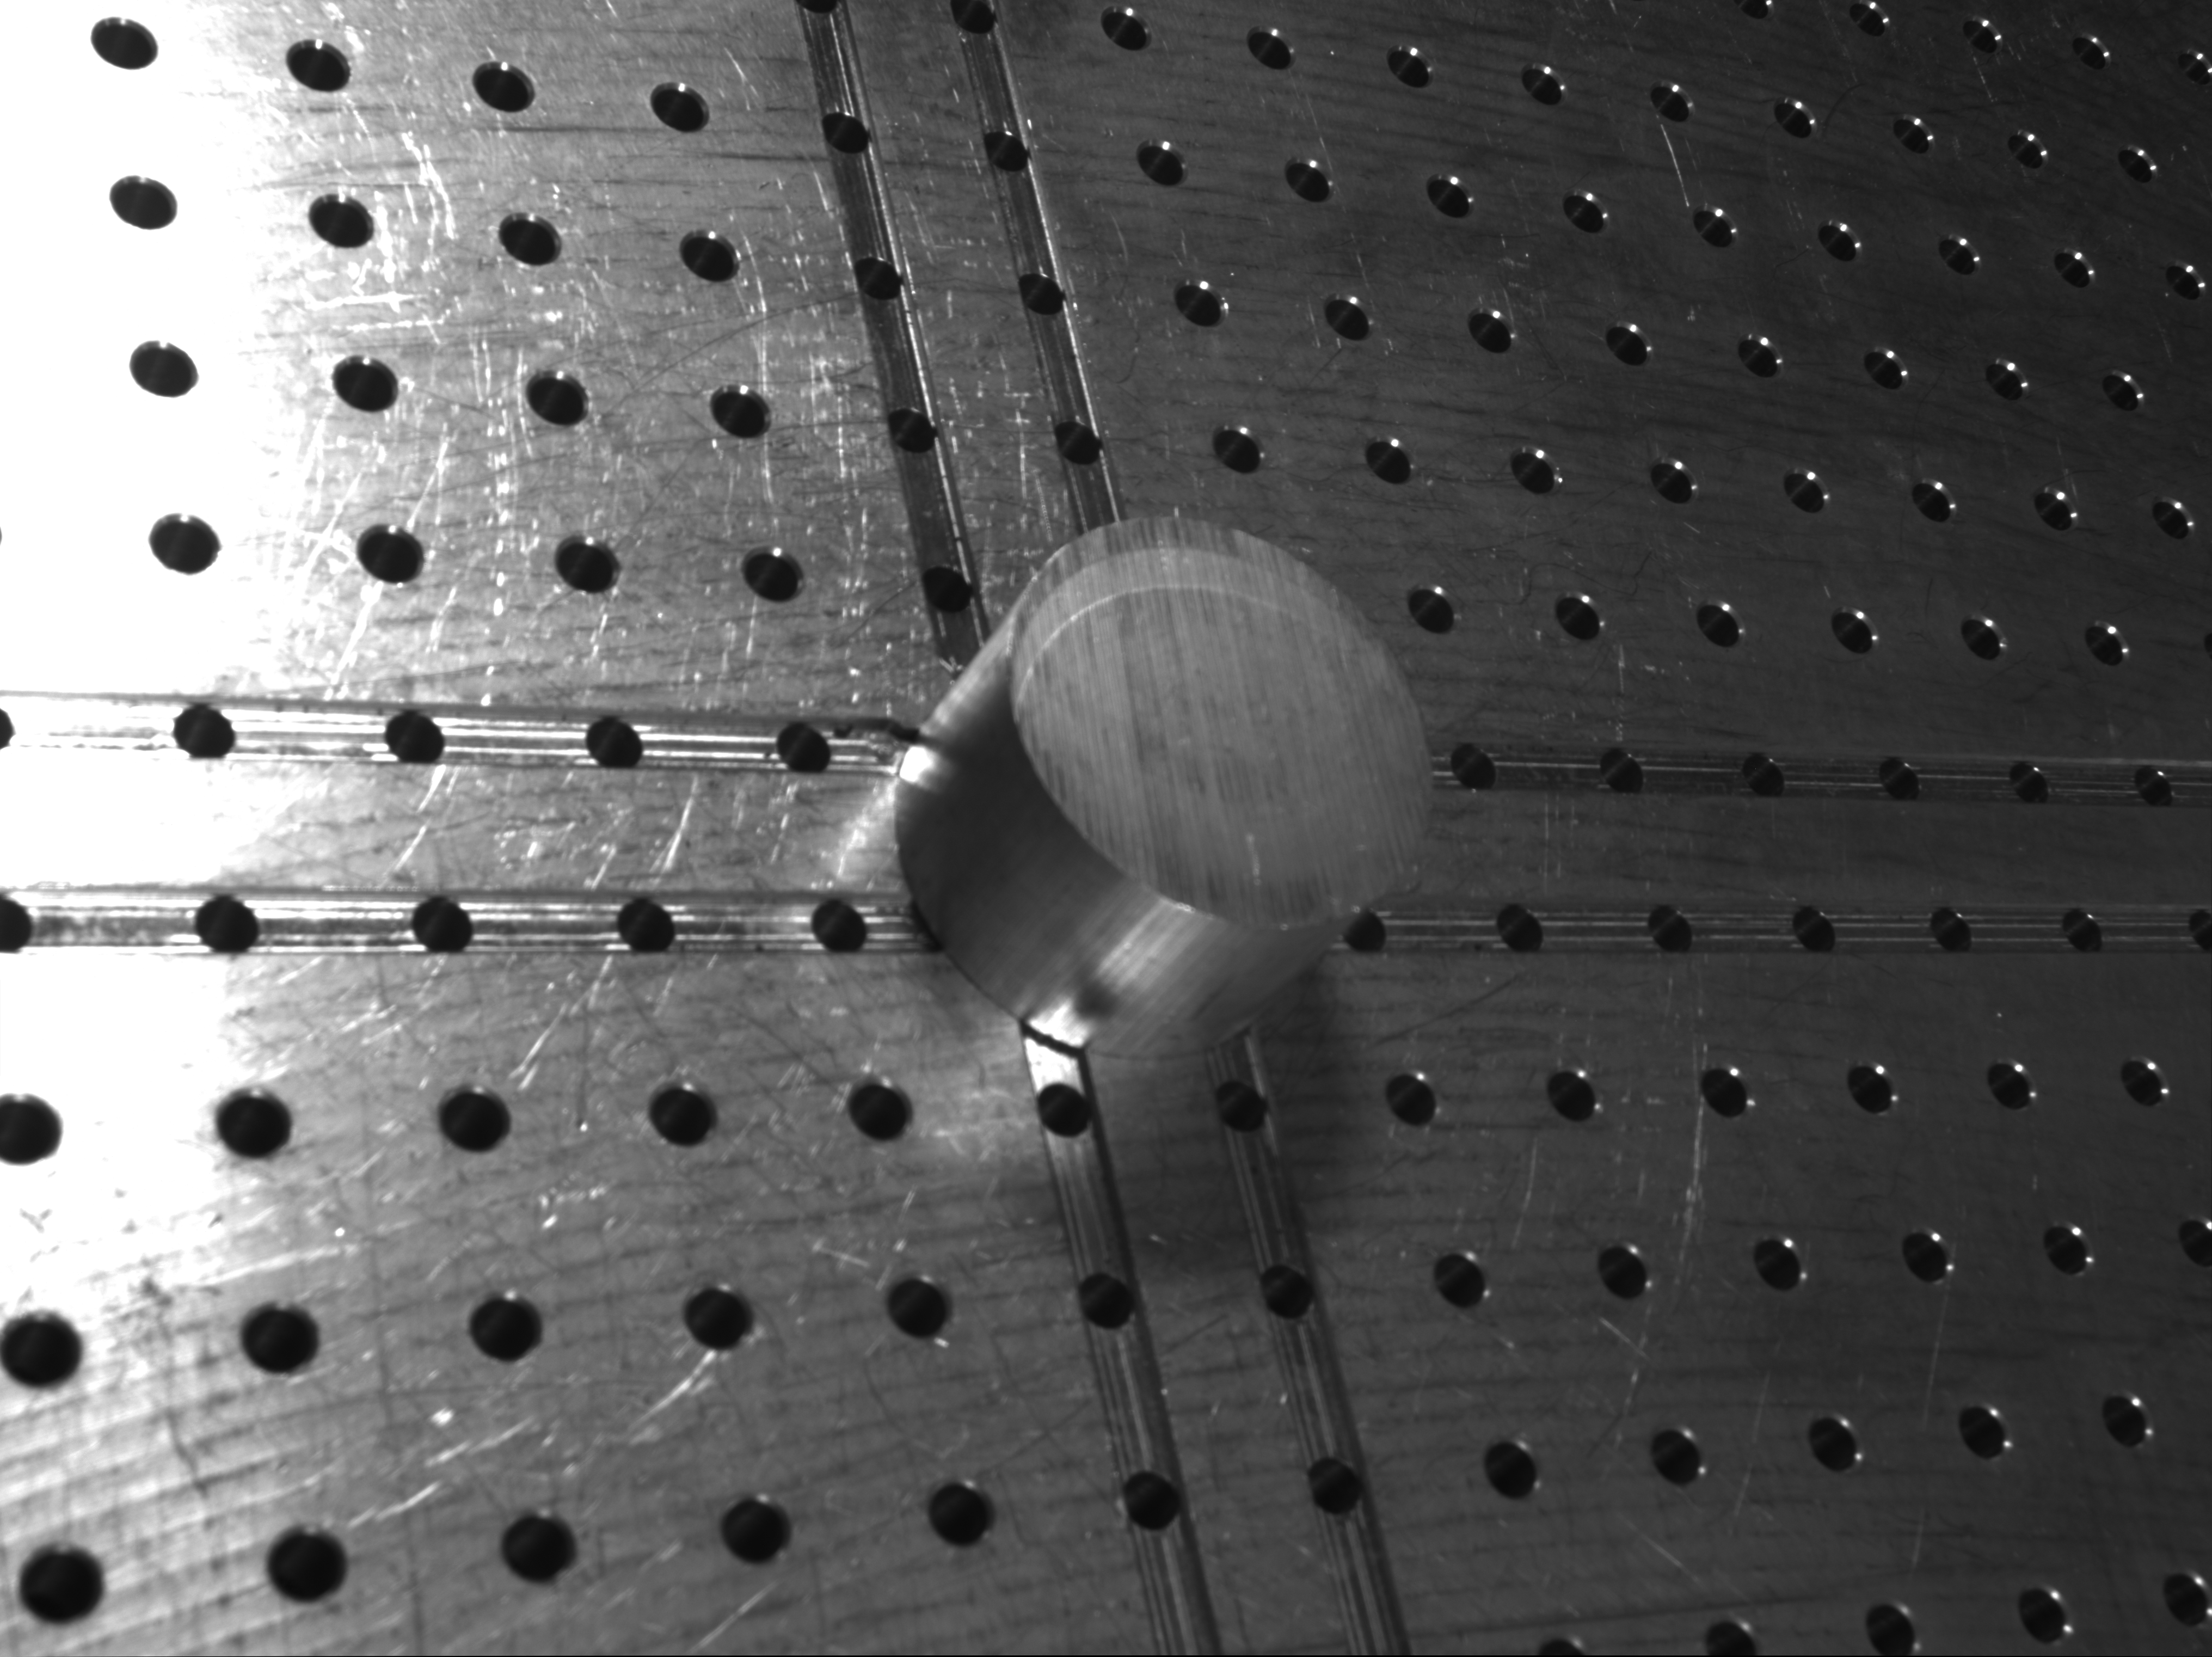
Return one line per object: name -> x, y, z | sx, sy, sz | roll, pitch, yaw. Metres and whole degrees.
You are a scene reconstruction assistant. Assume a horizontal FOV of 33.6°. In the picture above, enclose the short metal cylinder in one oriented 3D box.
short metal cylinder -> 0.012, -0.007, 0.637 | 0.080, 0.050, 0.080 | 14, 56, -21
